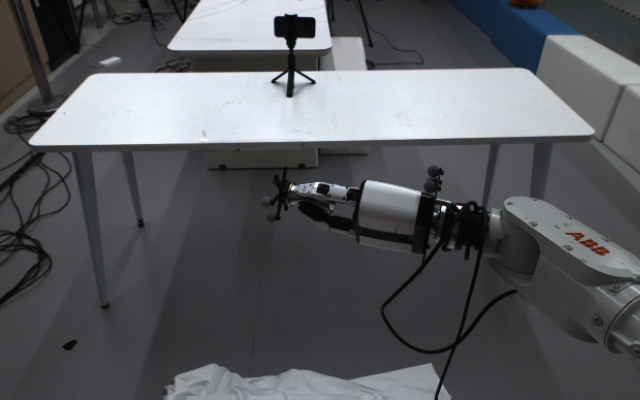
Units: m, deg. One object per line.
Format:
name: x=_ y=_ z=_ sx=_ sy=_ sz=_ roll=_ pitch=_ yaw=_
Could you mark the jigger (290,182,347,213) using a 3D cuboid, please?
jigger: x=-0.007 y=-0.009 z=0.755 sx=0.071 sy=0.043 sz=0.043 roll=7 pitch=35 yaw=15
